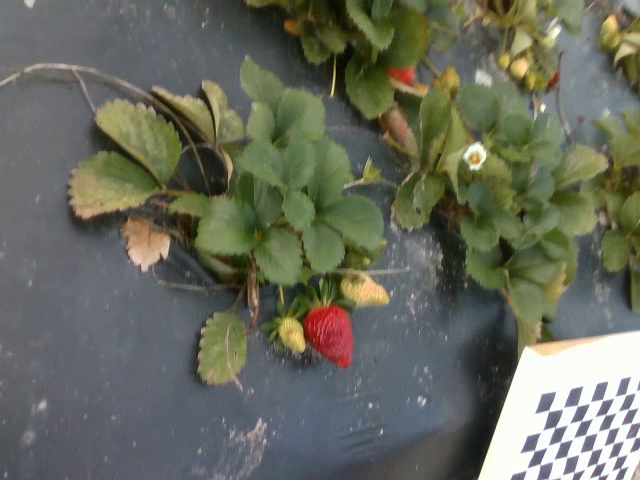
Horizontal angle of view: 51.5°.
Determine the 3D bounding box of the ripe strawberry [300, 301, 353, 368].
[{"bbox_3d":[0.012,0.080,0.518,0.046,0.046,0.059,-4,46,-32],"label":"ripe strawberry"}]
